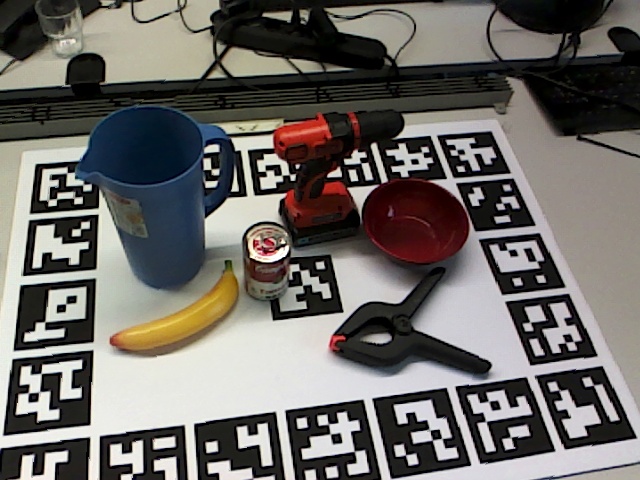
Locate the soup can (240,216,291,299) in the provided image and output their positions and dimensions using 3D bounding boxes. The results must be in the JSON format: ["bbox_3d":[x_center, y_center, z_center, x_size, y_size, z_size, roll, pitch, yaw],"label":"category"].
[{"bbox_3d":[-0.074,0.026,0.862,0.068,0.102,0.068,1,46,-1],"label":"soup can"}]

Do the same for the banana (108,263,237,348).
[{"bbox_3d":[-0.188,0.099,0.841,0.196,0.039,0.075,-28,53,-24],"label":"banana"}]

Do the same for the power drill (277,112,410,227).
[{"bbox_3d":[0.027,-0.102,0.886,0.184,0.186,0.057,-10,56,-13],"label":"power drill"}]

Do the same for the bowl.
[{"bbox_3d":[0.139,-0.019,0.937,0.161,0.055,0.162,2,55,-3],"label":"bowl"}]

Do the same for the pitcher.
[{"bbox_3d":[-0.199,-0.052,0.822,0.188,0.242,0.134,-28,58,-22],"label":"pitcher"}]

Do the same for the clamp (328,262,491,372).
[{"bbox_3d":[0.110,0.117,0.840,0.202,0.036,0.166,-9,59,-10],"label":"clamp"}]
